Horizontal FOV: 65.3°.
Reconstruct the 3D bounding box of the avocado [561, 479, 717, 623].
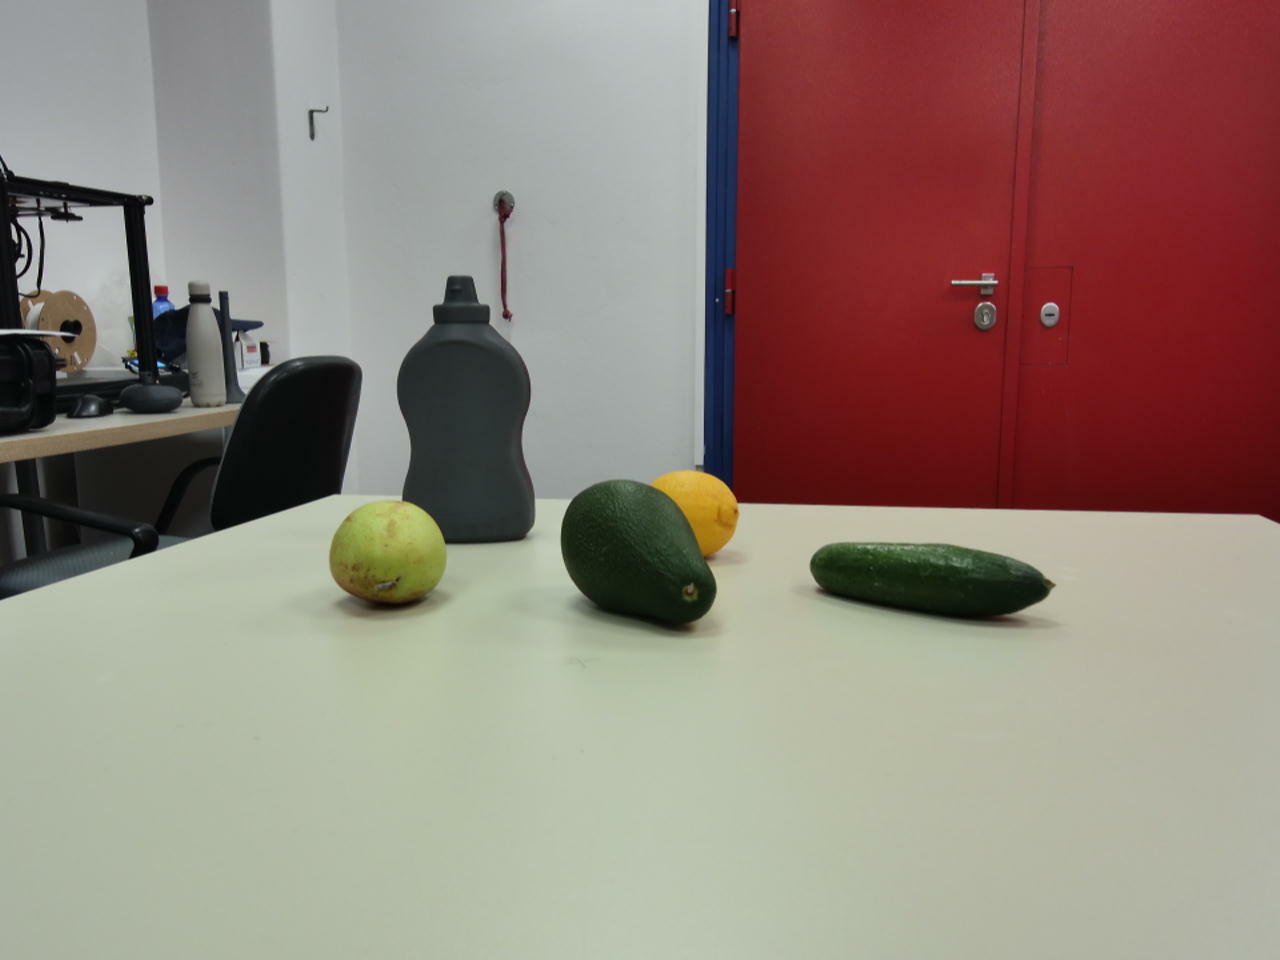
[{"bbox_3d":[-0.004,0.036,0.534,0.072,0.071,0.109,-2,6,-11],"label":"avocado"}]
